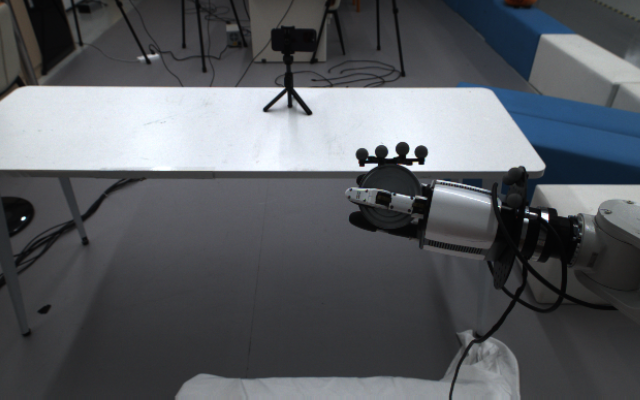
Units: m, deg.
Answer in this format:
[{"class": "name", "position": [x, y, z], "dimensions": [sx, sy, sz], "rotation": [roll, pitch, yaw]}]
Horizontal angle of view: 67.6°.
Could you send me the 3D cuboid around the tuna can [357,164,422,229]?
[{"class": "tuna can", "position": [0.096, -0.006, 0.649], "dimensions": [0.085, 0.085, 0.034], "rotation": [15, 2, 18]}]
